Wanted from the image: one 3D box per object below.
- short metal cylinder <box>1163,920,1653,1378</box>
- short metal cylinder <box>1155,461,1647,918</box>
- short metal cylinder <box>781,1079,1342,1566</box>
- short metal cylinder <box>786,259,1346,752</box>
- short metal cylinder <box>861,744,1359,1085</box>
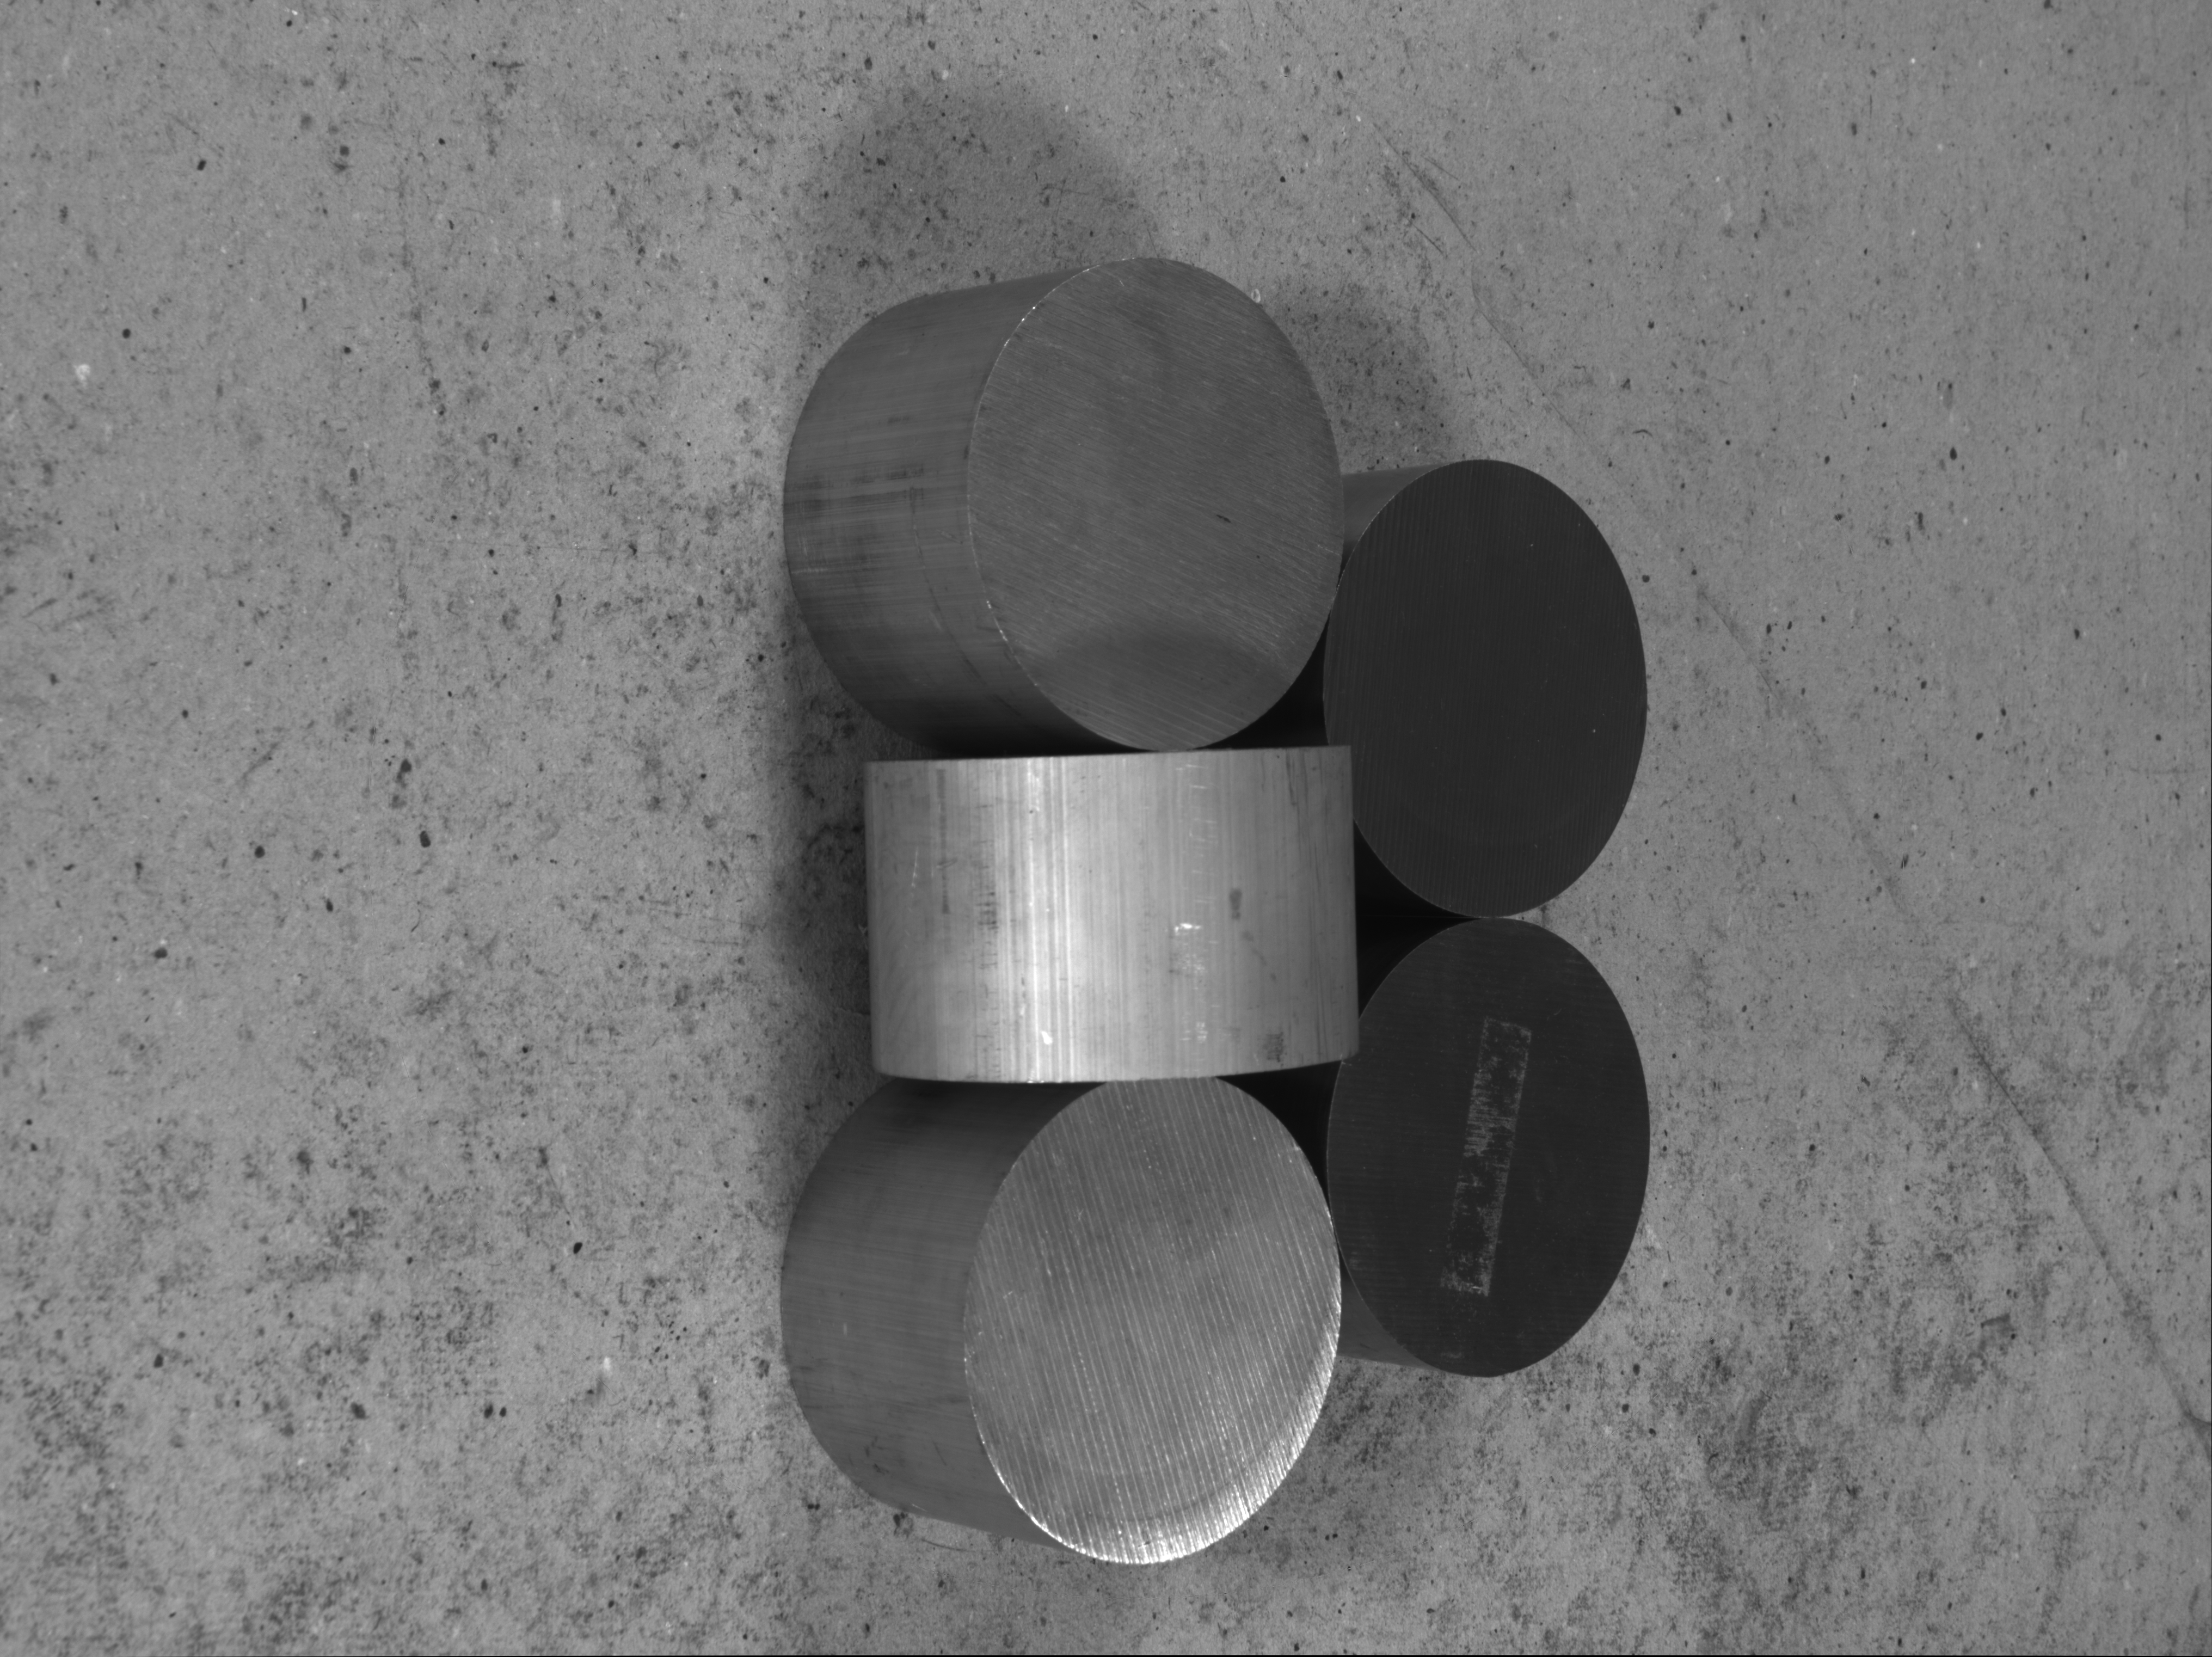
[{"bbox_3d":[0.053,0.056,0.663,0.080,0.050,0.080,0,91,-39],"label":"short metal cylinder"},{"bbox_3d":[0.052,-0.024,0.662,0.080,0.050,0.080,0,91,-40],"label":"short metal cylinder"},{"bbox_3d":[-0.007,0.079,0.614,0.080,0.050,0.080,0,90,-39],"label":"short metal cylinder"},{"bbox_3d":[-0.006,-0.052,0.614,0.080,0.050,0.080,0,90,-39],"label":"short metal cylinder"},{"bbox_3d":[0.001,0.013,0.601,0.080,0.080,0.050,-4,92,-40],"label":"short metal cylinder"}]
